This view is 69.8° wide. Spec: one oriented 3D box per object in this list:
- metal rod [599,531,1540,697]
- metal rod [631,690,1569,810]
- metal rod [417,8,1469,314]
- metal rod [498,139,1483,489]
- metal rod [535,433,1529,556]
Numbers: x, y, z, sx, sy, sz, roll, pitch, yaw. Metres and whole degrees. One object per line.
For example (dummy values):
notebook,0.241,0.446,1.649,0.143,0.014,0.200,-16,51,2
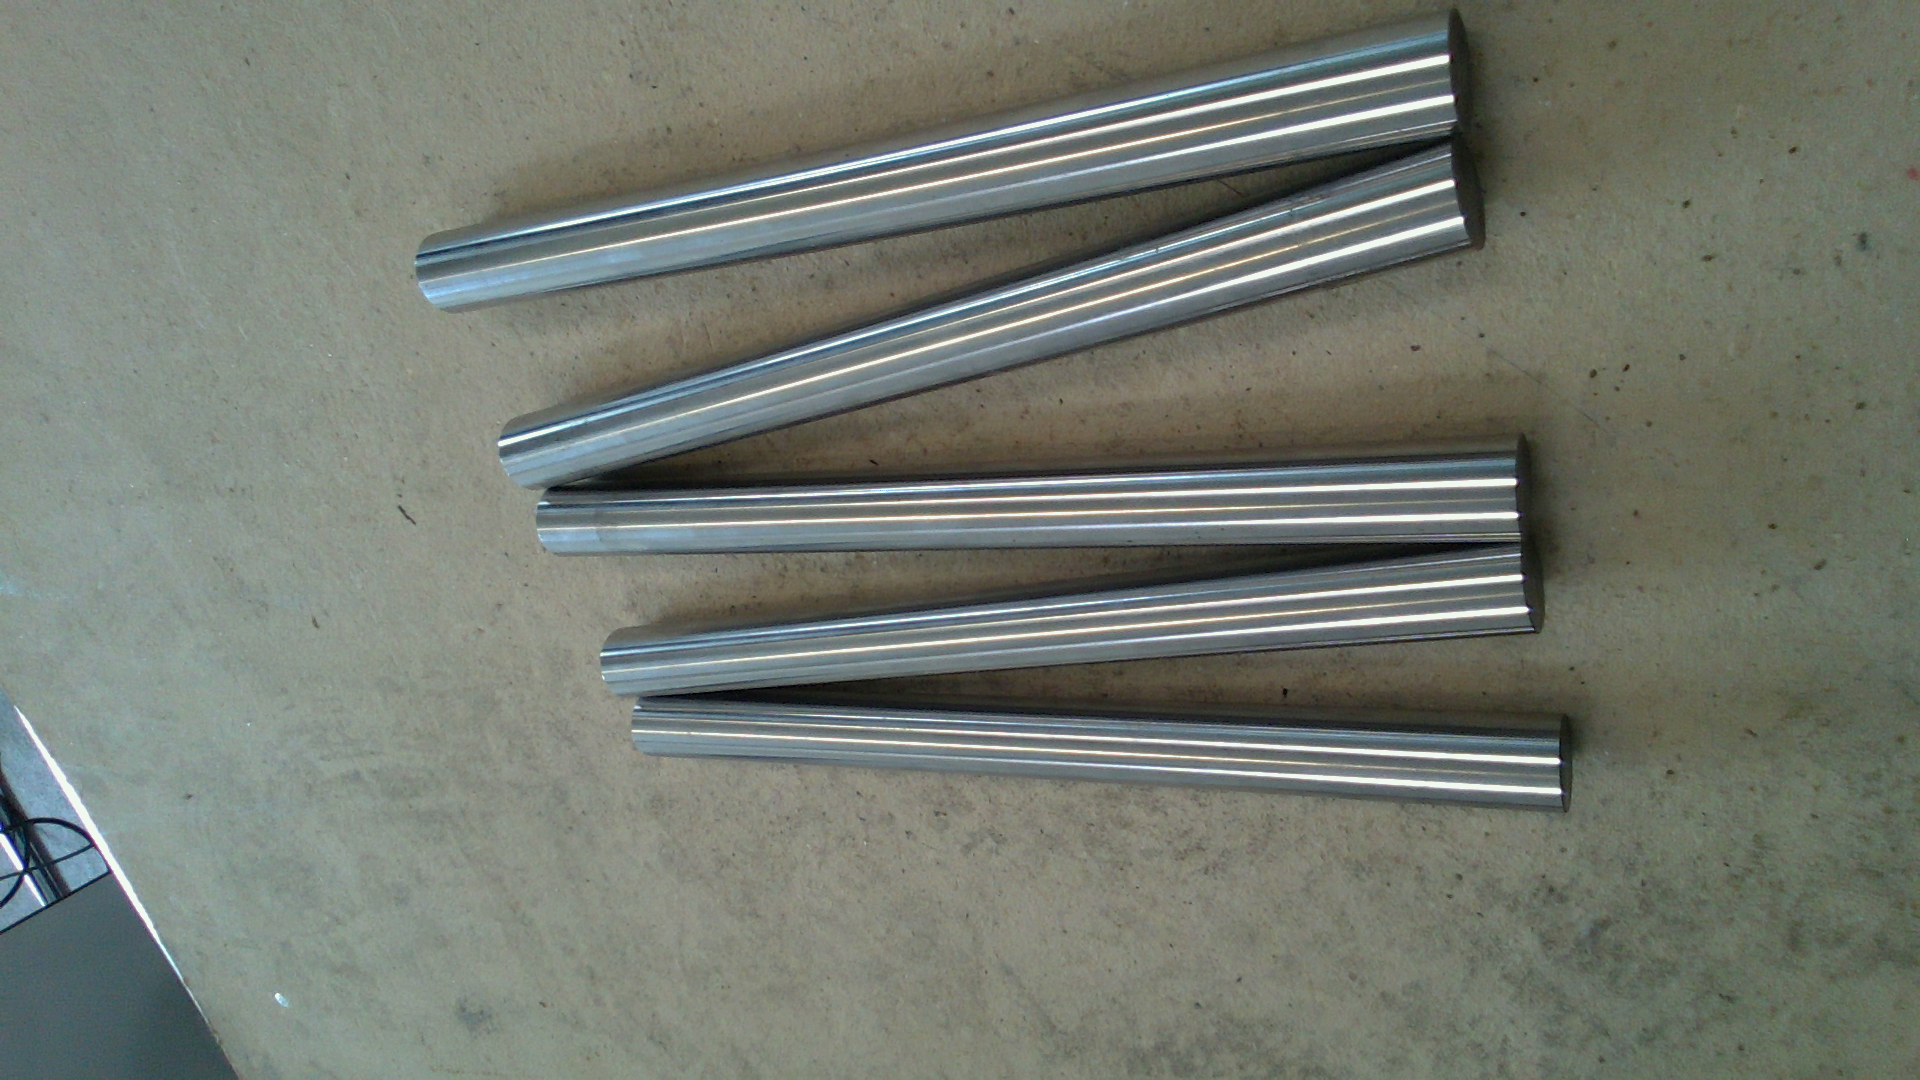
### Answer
metal rod,0.009,0.026,0.404,0.299,0.025,0.025,-7,115,31
metal rod,0.022,0.060,0.419,0.299,0.025,0.025,-2,118,29
metal rod,-0.028,-0.089,0.354,0.299,0.025,0.025,-3,117,30
metal rod,-0.017,-0.051,0.371,0.299,0.025,0.025,-10,113,33
metal rod,-0.002,-0.009,0.388,0.299,0.025,0.025,-1,118,29
